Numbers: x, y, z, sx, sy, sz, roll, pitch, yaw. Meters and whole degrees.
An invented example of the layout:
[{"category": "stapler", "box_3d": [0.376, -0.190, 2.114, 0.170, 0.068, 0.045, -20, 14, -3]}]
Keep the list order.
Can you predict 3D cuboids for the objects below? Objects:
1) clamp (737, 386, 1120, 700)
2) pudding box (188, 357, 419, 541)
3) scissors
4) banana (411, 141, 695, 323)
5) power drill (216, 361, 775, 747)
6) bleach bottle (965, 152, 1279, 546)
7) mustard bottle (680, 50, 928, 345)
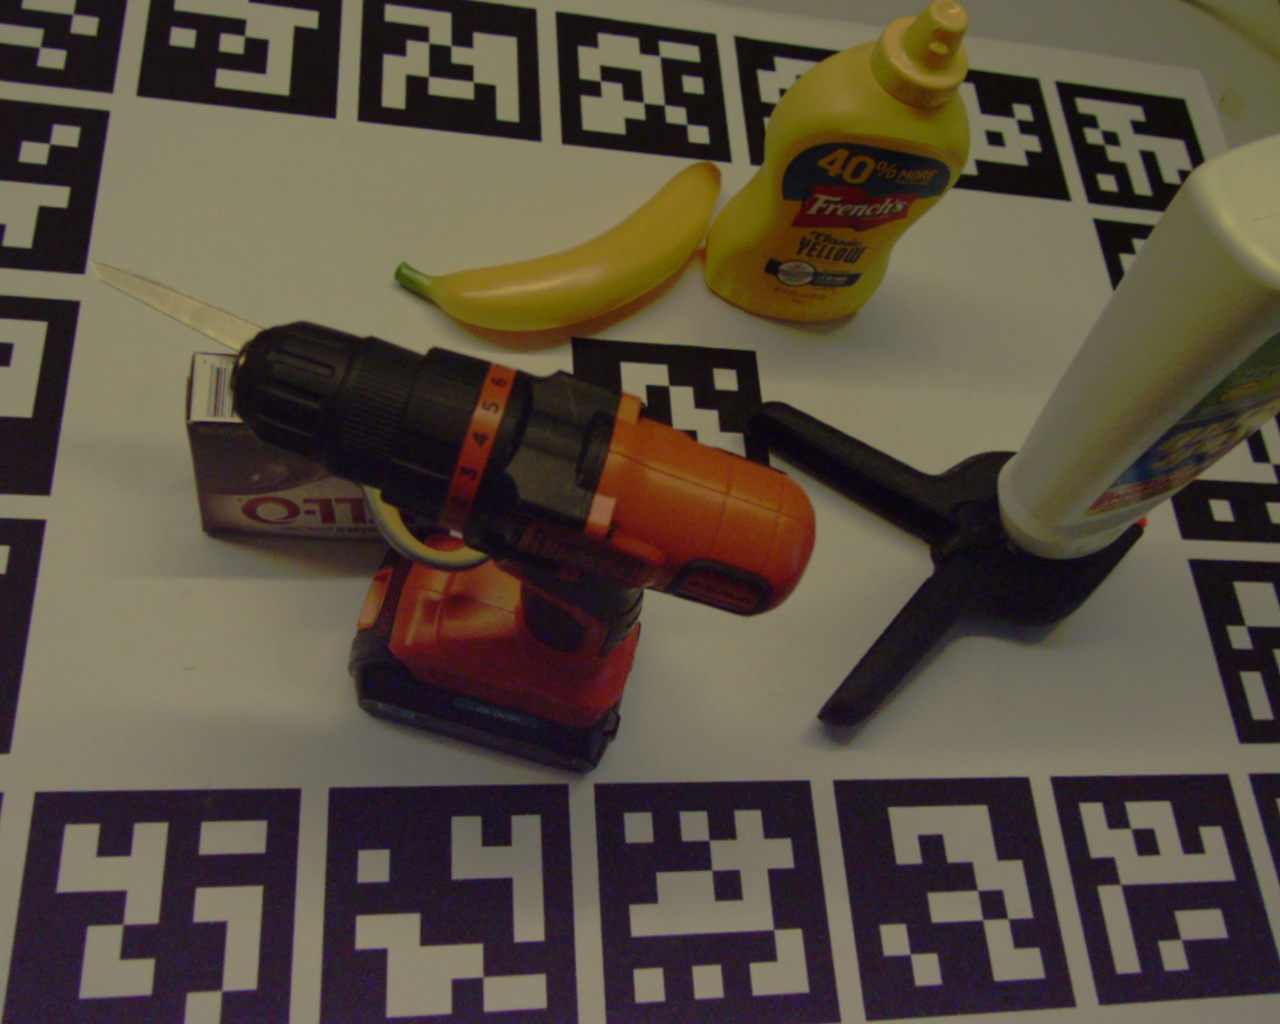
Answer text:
[{"category": "clamp", "box_3d": [0.160, 0.007, 0.596, 0.201, 0.037, 0.166, -4, 69, -18]}, {"category": "pudding box", "box_3d": [-0.142, -0.026, 0.520, 0.113, 0.090, 0.039, 6, 58, -13]}, {"category": "scissors", "box_3d": [-0.136, -0.058, 0.464, 0.202, 0.016, 0.087, 27, 66, -7]}, {"category": "banana", "box_3d": [-0.029, -0.152, 0.630, 0.075, 0.039, 0.196, 39, 62, 24]}, {"category": "power drill", "box_3d": [-0.061, 0.023, 0.432, 0.184, 0.187, 0.057, 13, 57, -6]}, {"category": "bleach bottle", "box_3d": [0.219, -0.048, 0.518, 0.102, 0.250, 0.068, -18, 68, -14]}, {"category": "mustard bottle", "box_3d": [0.093, -0.162, 0.591, 0.096, 0.192, 0.058, 16, 63, -9]}]
